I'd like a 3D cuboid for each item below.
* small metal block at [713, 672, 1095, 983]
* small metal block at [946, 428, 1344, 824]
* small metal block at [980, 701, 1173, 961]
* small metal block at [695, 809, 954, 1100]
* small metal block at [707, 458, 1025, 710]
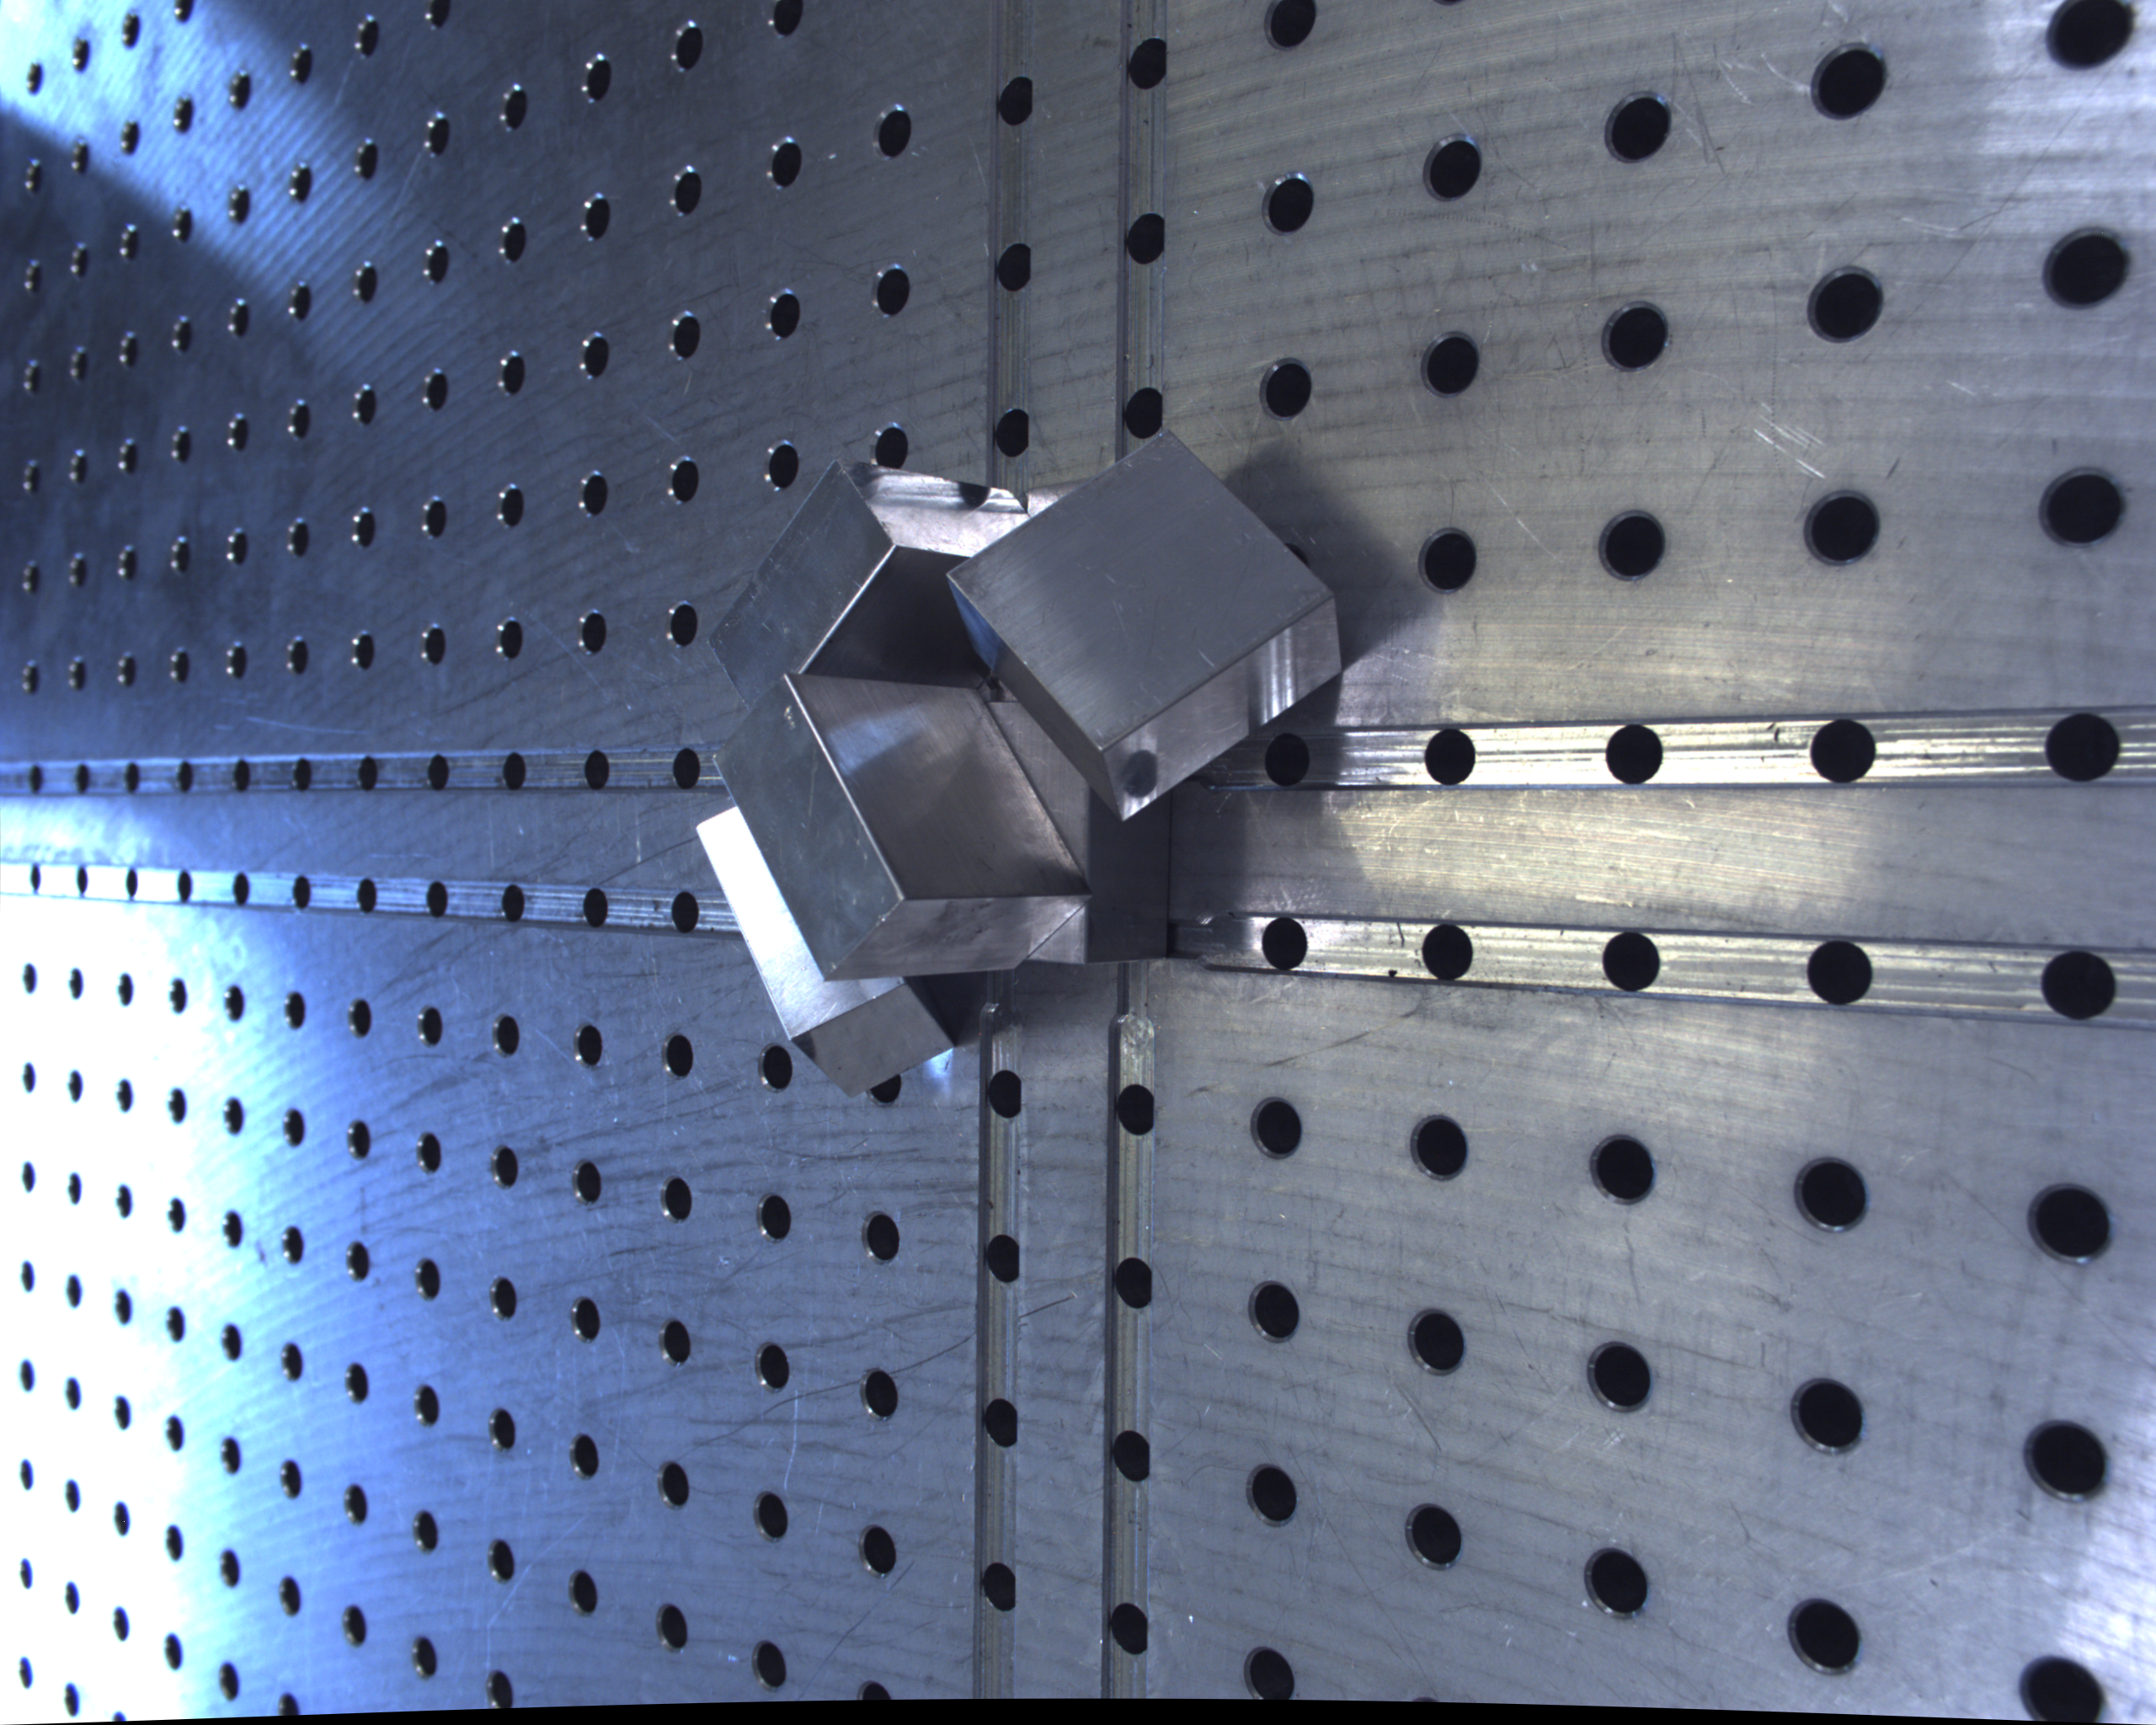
[{"bbox_3d":[-0.032,-0.006,0.388,0.025,0.050,0.050,-43,65,31],"label":"small metal block"},{"bbox_3d":[0.013,-0.044,0.382,0.050,0.025,0.050,-35,61,-9],"label":"small metal block"},{"bbox_3d":[-0.009,-0.007,0.417,0.050,0.025,0.050,1,90,39],"label":"small metal block"},{"bbox_3d":[-0.052,0.016,0.433,0.025,0.050,0.050,-26,69,-2],"label":"small metal block"},{"bbox_3d":[-0.038,-0.052,0.426,0.050,0.050,0.025,-48,61,29],"label":"small metal block"}]
